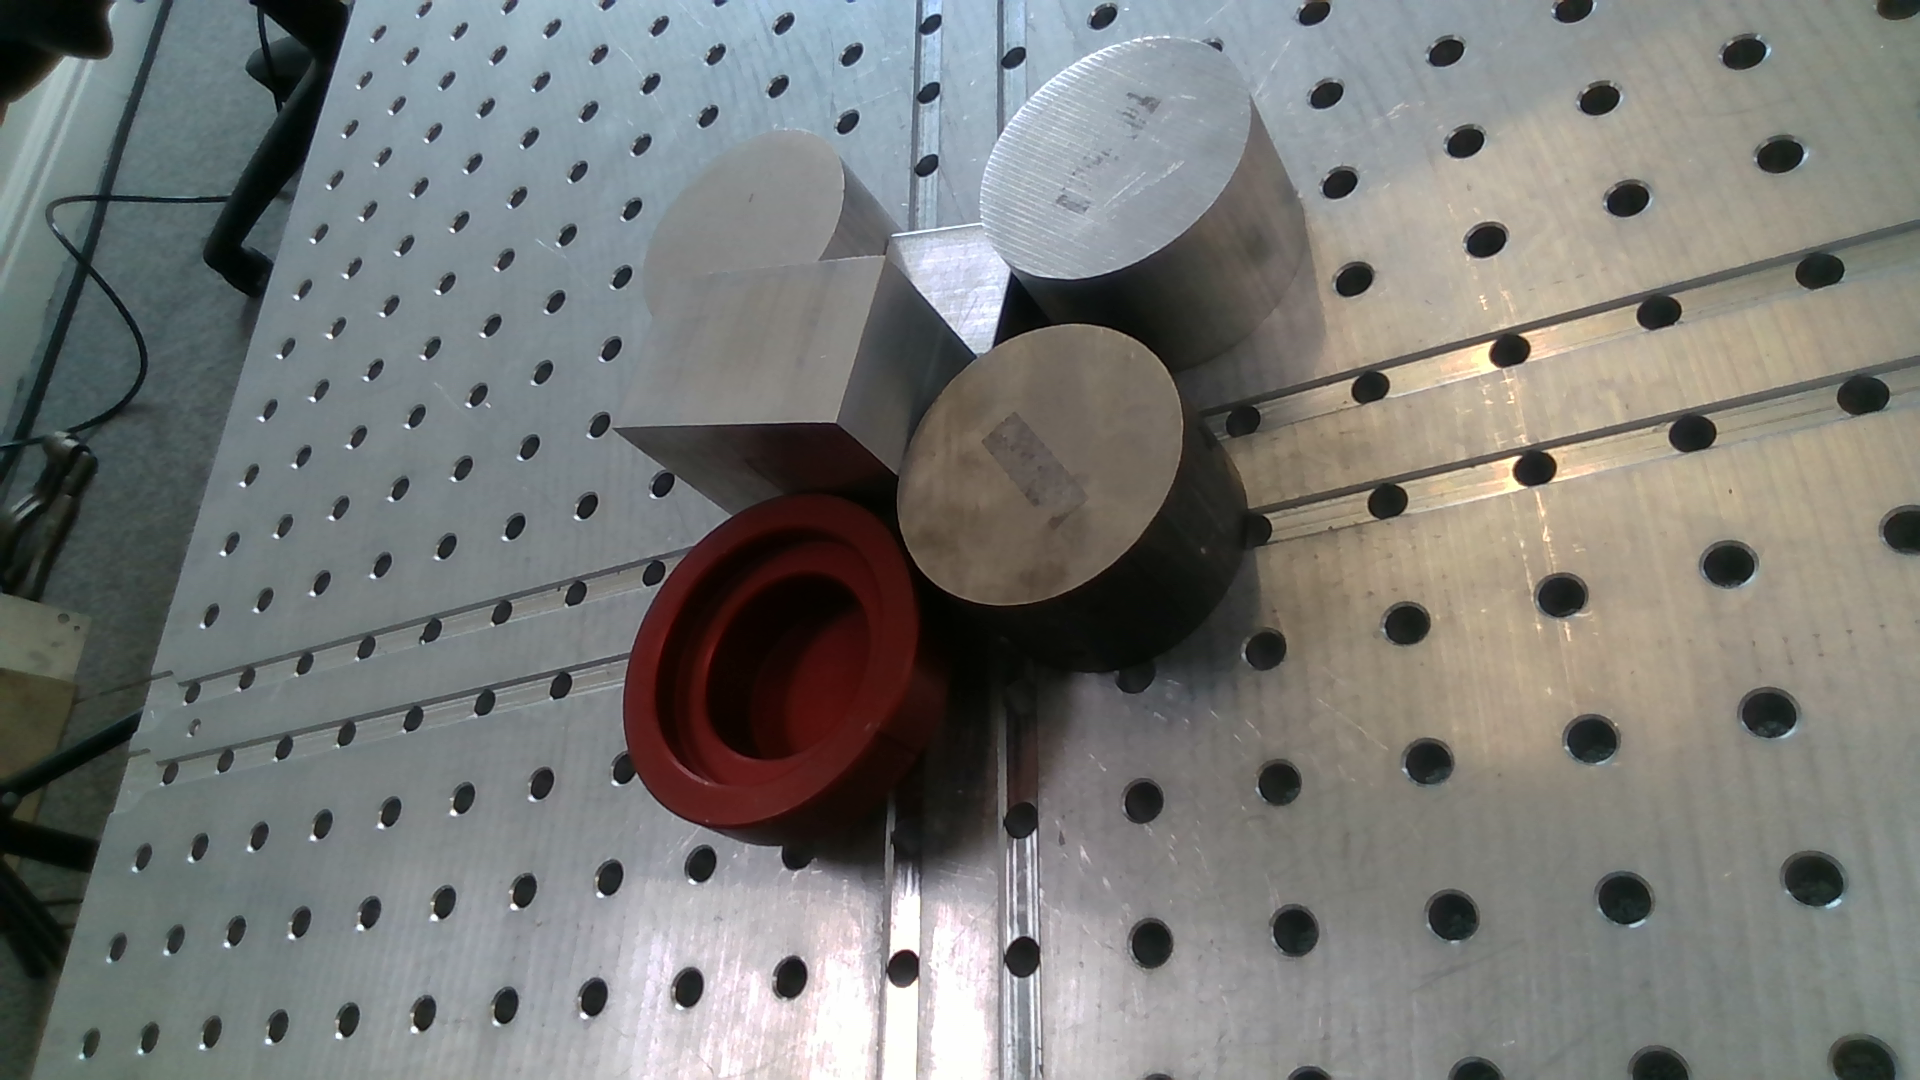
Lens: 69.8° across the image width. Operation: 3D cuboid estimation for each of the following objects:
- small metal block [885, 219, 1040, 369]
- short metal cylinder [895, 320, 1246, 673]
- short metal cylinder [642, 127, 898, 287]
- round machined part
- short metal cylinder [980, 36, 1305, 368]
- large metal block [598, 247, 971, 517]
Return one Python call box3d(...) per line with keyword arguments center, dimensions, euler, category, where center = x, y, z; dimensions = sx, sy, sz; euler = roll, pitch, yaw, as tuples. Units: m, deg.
box3d(center=(-0.001, -0.072, 0.435), dimensions=(0.050, 0.025, 0.050), euler=(0, 66, 32), category="small metal block")
box3d(center=(0.030, -0.011, 0.367), dimensions=(0.080, 0.050, 0.080), euler=(-14, 59, 25), category="short metal cylinder")
box3d(center=(-0.059, -0.090, 0.464), dimensions=(0.080, 0.050, 0.080), euler=(-14, 59, 25), category="short metal cylinder")
box3d(center=(-0.045, 0.038, 0.392), dimensions=(0.098, 0.042, 0.098), euler=(-14, 59, 25), category="round machined part")
box3d(center=(0.053, -0.096, 0.398), dimensions=(0.080, 0.050, 0.080), euler=(-14, 59, 25), category="short metal cylinder")
box3d(center=(-0.042, -0.038, 0.403), dimensions=(0.080, 0.080, 0.050), euler=(1, 66, 32), category="large metal block")
